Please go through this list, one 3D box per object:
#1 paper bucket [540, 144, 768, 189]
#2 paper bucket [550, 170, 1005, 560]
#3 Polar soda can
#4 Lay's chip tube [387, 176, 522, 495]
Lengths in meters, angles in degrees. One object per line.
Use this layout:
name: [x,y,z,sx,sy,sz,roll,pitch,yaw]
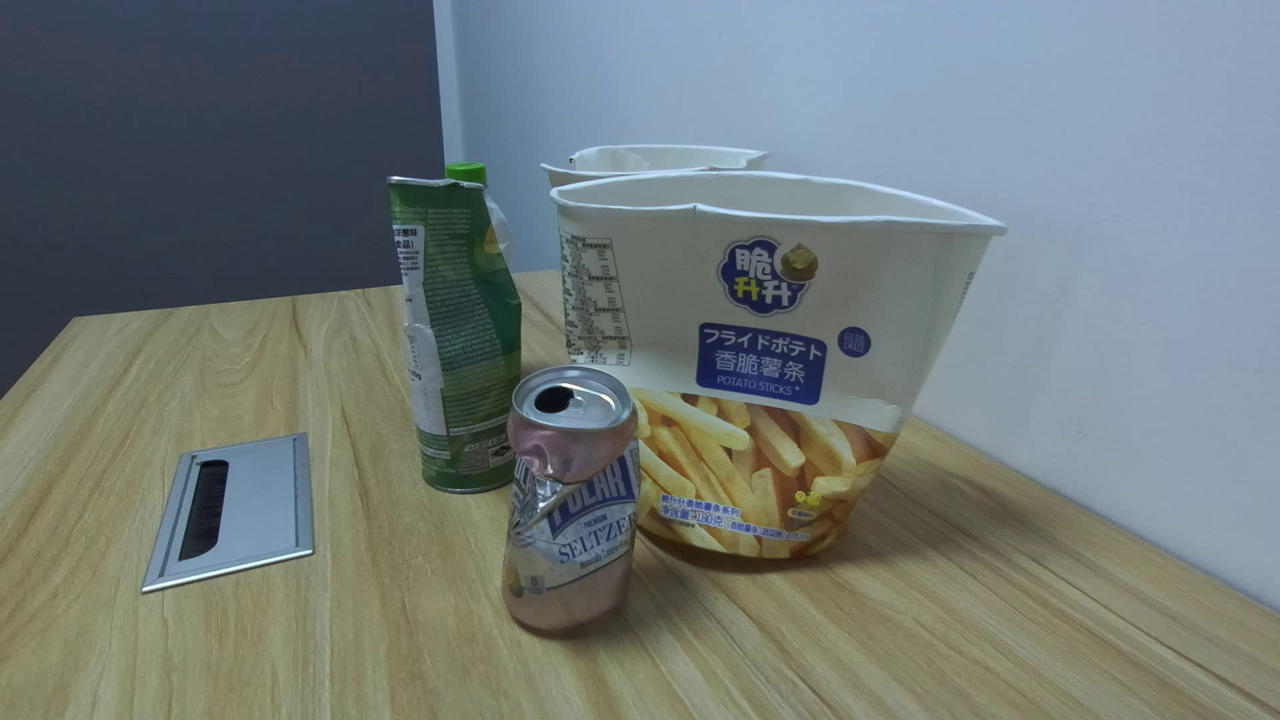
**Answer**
paper bucket: [0.021,-0.088,0.632,0.146,0.197,0.201,-22,27,-38]
paper bucket: [0.064,-0.002,0.415,0.218,0.199,0.147,-5,24,-11]
Polar soda can: [-0.034,0.071,0.347,0.066,0.122,0.071,7,22,2]
Lay's chip tube: [-0.120,-0.019,0.465,0.079,0.199,0.070,-13,20,-33]
